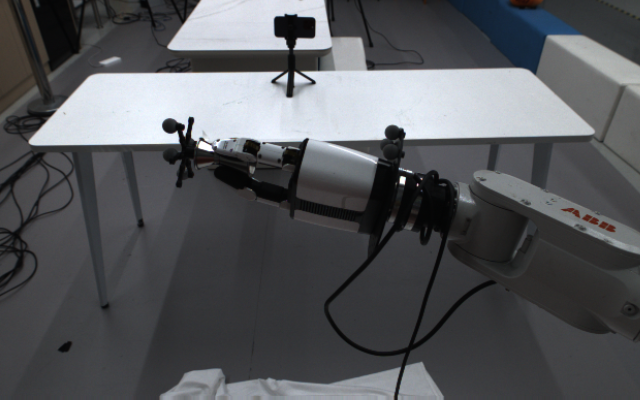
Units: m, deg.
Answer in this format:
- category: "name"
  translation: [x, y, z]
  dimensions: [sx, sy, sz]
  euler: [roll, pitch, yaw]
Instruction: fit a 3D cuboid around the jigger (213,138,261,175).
- category: "jigger"
  translation: [-0.107, -0.055, 0.592]
  dimensions: [0.071, 0.043, 0.043]
  euler: [7, 35, 2]
